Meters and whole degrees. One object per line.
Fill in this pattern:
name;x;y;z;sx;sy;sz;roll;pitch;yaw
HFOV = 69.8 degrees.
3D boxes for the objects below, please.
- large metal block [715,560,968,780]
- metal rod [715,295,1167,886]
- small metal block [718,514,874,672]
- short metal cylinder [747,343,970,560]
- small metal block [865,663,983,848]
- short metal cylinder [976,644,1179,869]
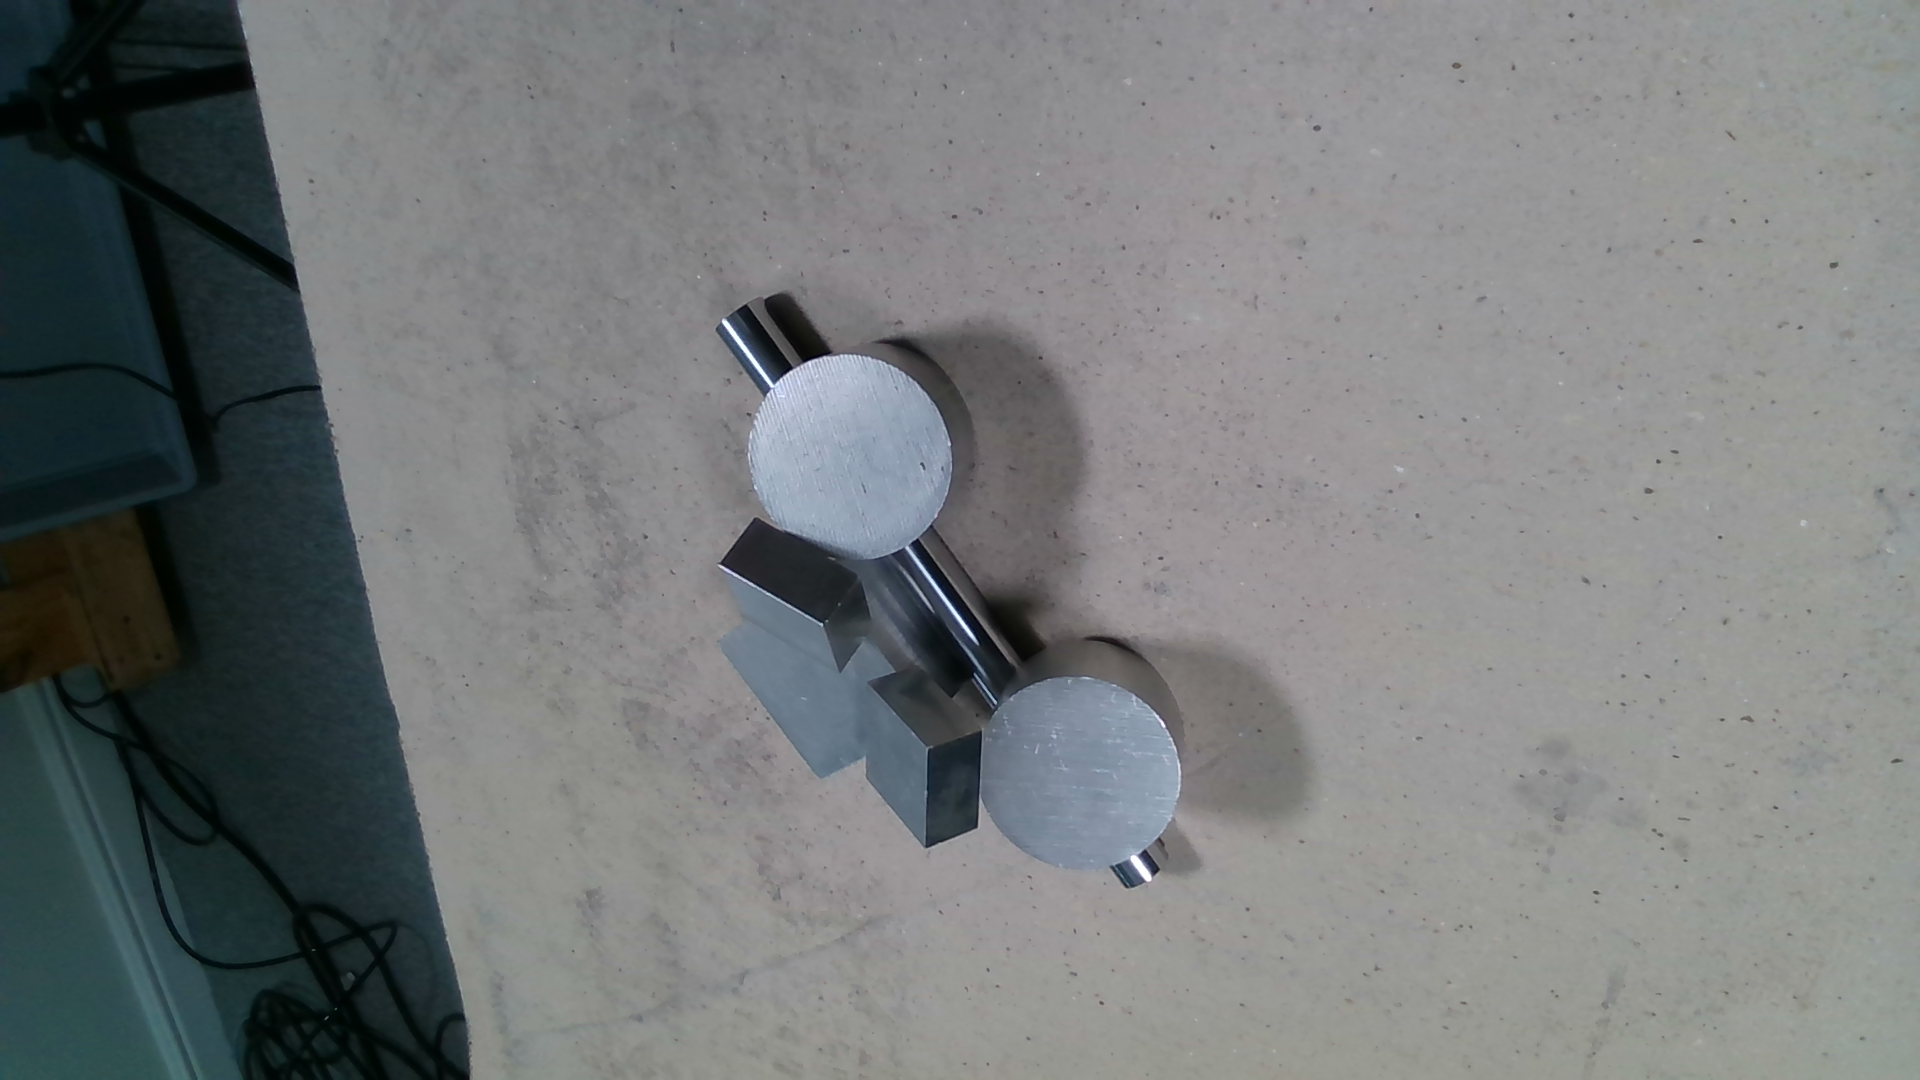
large metal block;-0.049;0.050;0.619;0.080;0.050;0.080;-32;96;39
metal rod;-0.007;0.024;0.597;0.025;0.025;0.300;-32;96;39
small metal block;-0.064;0.022;0.551;0.050;0.025;0.050;29;159;16
short metal cylinder;-0.039;-0.036;0.550;0.080;0.050;0.080;2;103;9
small metal block;-0.016;0.086;0.556;0.050;0.025;0.050;40;137;47
short metal cylinder;0.049;0.086;0.562;0.080;0.050;0.080;2;103;9
